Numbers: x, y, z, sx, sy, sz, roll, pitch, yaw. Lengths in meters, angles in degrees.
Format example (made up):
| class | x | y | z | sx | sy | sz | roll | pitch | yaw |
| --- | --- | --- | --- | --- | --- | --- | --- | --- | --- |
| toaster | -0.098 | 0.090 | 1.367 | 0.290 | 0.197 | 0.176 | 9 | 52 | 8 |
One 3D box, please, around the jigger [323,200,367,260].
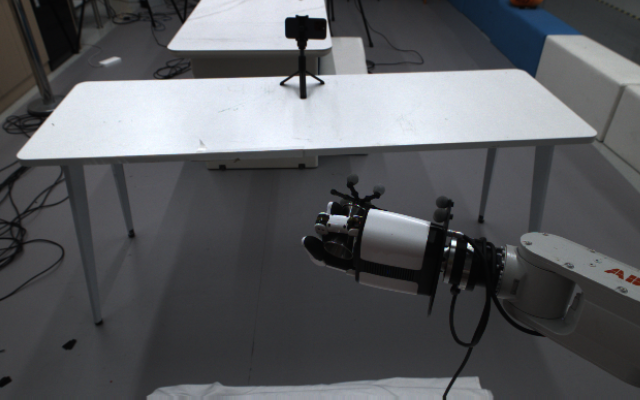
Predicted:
| class | x | y | z | sx | sy | sz | roll | pitch | yaw |
| --- | --- | --- | --- | --- | --- | --- | --- | --- | --- |
| jigger | 0.039 | 0.040 | 0.675 | 0.043 | 0.043 | 0.071 | 15 | 58 | 18 |
